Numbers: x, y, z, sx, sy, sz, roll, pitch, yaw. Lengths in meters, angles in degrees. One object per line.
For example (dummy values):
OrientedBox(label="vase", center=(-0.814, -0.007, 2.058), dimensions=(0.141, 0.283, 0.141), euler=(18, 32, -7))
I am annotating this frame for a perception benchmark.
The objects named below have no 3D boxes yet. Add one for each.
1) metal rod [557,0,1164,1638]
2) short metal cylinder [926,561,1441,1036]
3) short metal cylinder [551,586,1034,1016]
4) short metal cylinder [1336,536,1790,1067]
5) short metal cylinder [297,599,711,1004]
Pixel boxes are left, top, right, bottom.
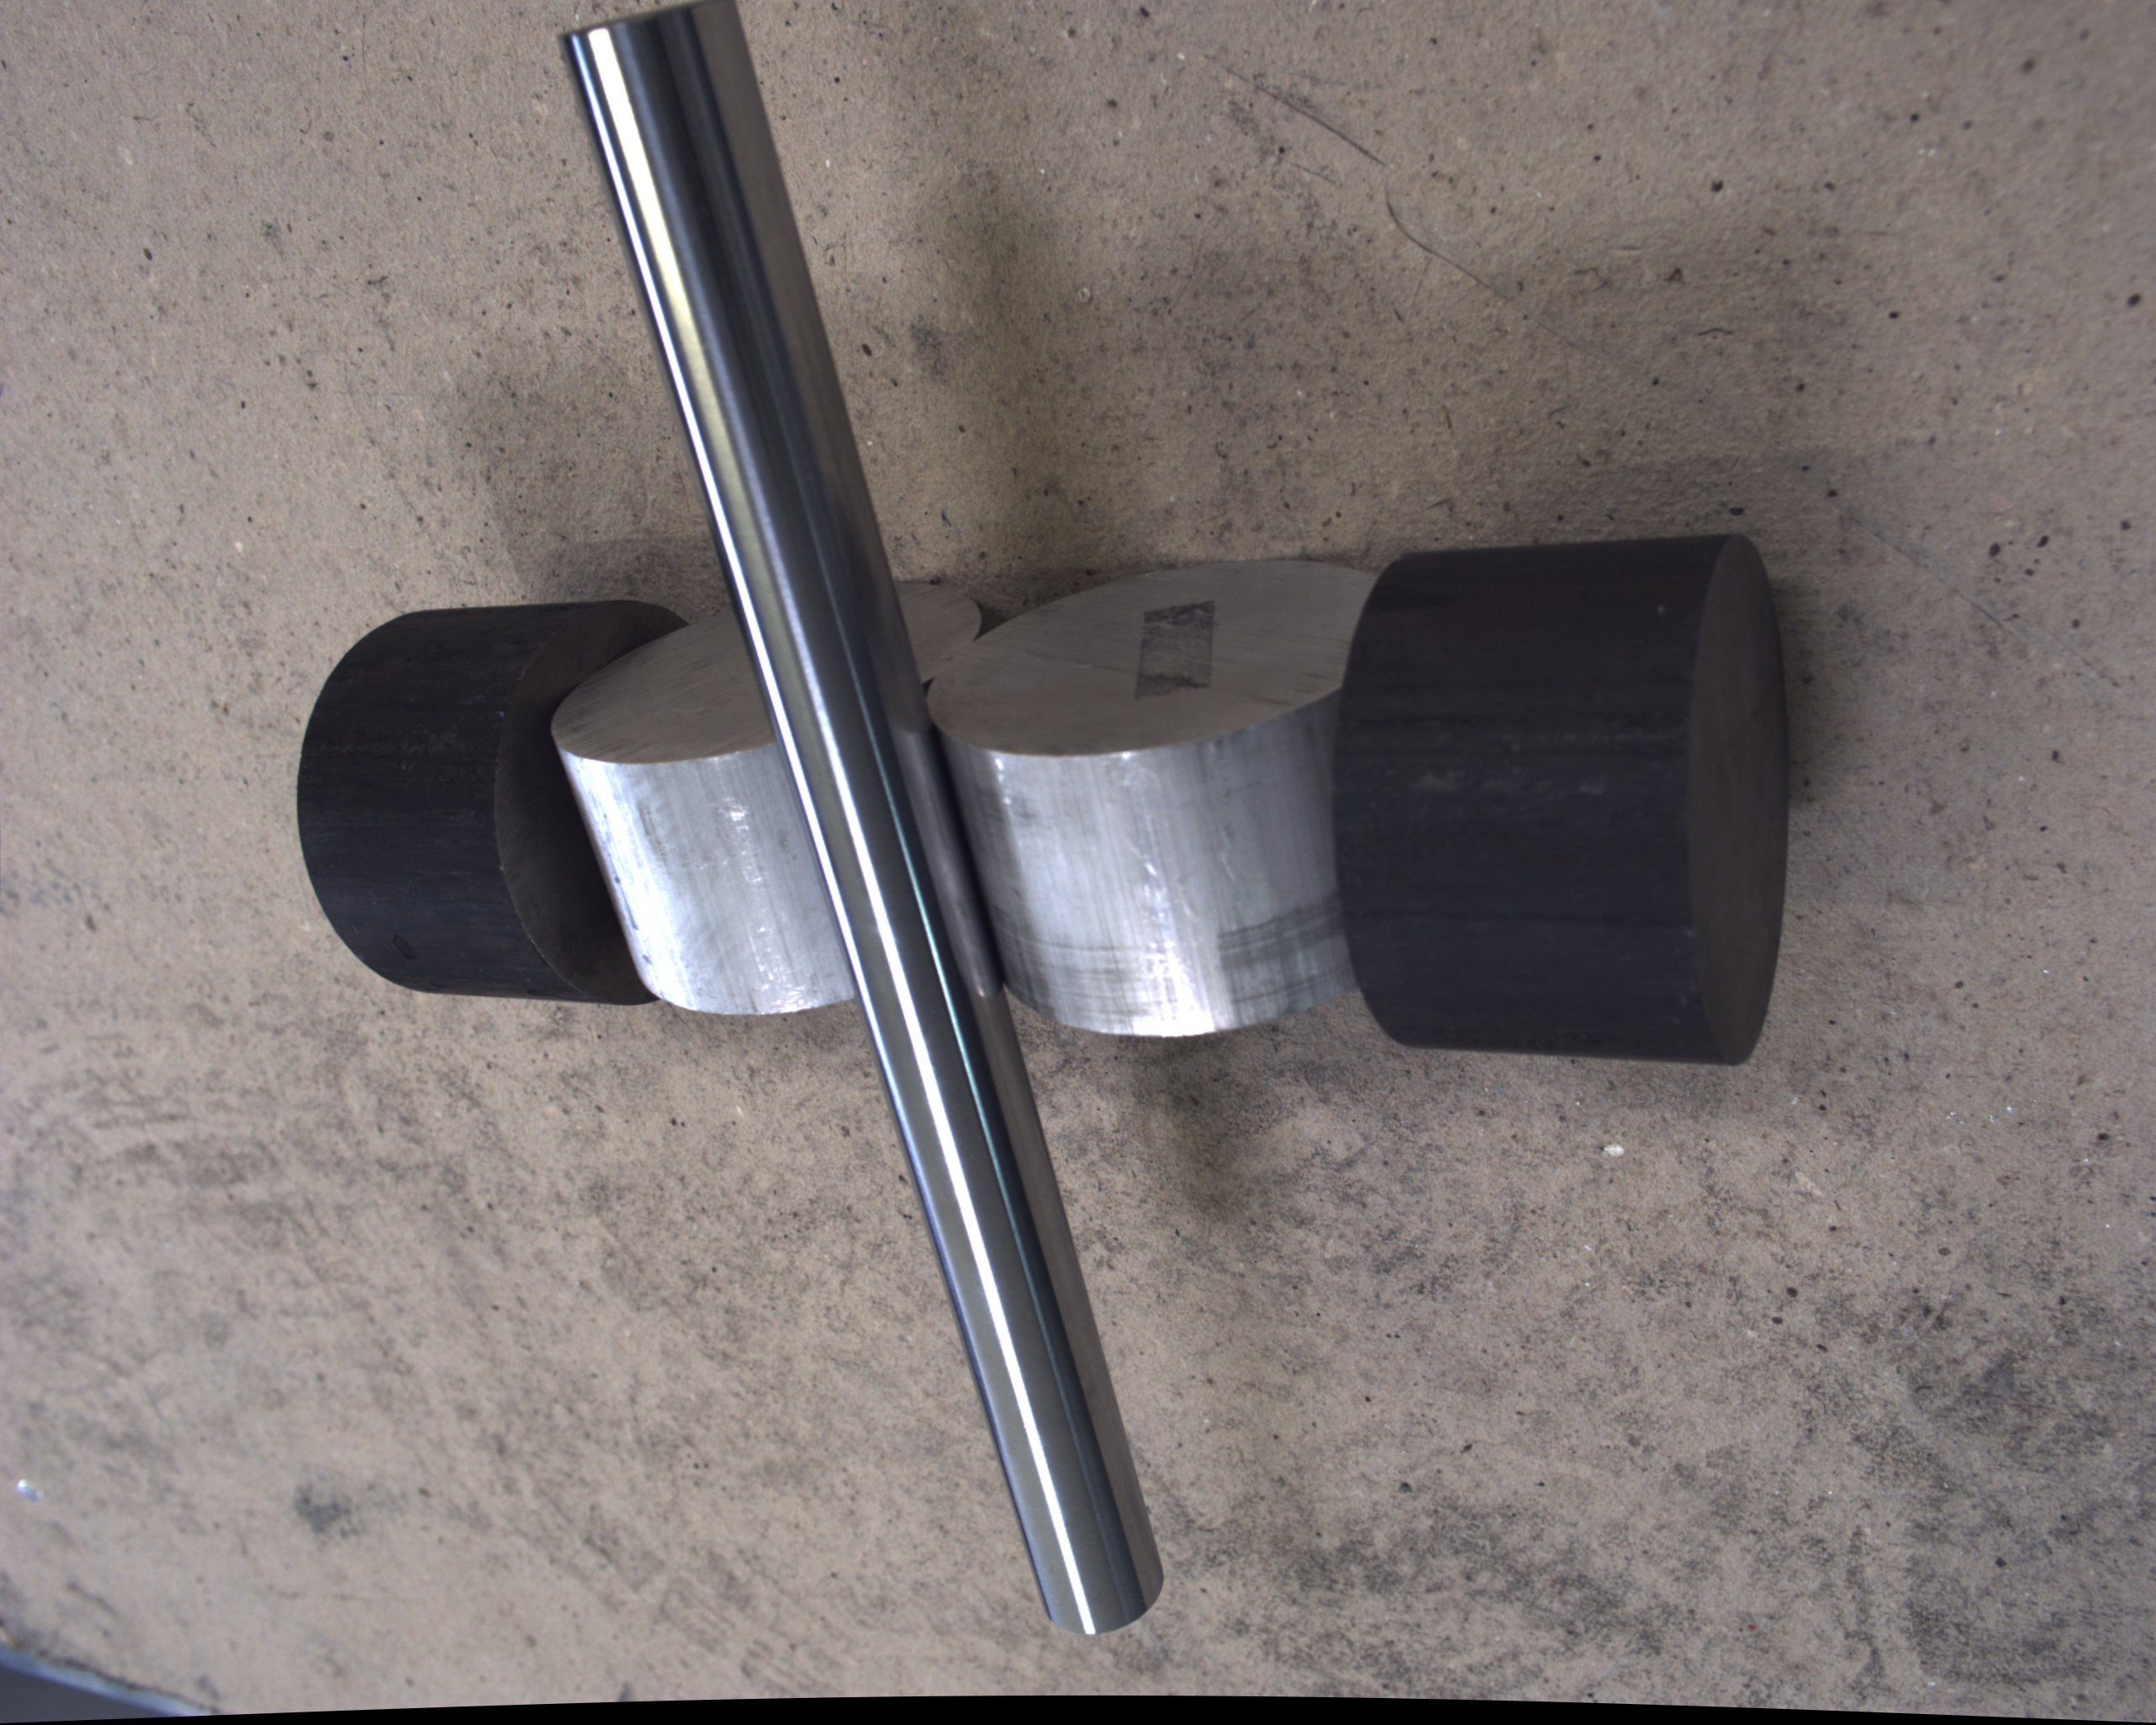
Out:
OrientedBox(label="metal rod", center=(-0.027, 0.014, 0.352), dimensions=(0.025, 0.025, 0.298), euler=(1, 119, 28))
OrientedBox(label="short metal cylinder", center=(0.019, -0.013, 0.354), dimensions=(0.080, 0.080, 0.050), euler=(1, 119, 28))
OrientedBox(label="short metal cylinder", center=(-0.051, -0.014, 0.391), dimensions=(0.080, 0.080, 0.050), euler=(1, 119, 28))
OrientedBox(label="short metal cylinder", center=(0.078, -0.010, 0.326), dimensions=(0.050, 0.080, 0.080), euler=(1, 119, 28))
OrientedBox(label="short metal cylinder", center=(-0.108, -0.012, 0.422), dimensions=(0.050, 0.080, 0.080), euler=(1, 119, 28))
